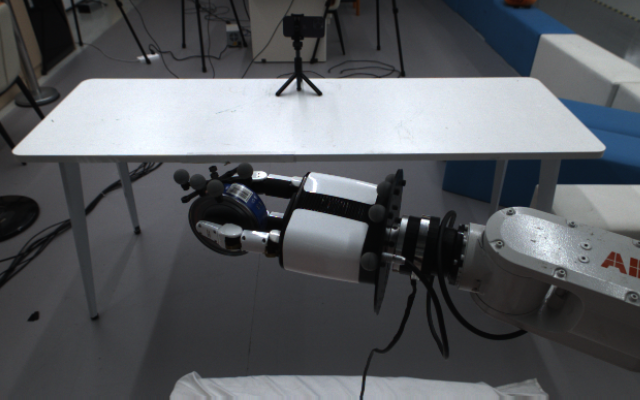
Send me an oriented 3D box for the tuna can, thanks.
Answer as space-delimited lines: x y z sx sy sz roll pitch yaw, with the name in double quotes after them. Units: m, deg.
-0.101 0.026 0.555 0.085 0.085 0.034 10 33 11 "tuna can"
